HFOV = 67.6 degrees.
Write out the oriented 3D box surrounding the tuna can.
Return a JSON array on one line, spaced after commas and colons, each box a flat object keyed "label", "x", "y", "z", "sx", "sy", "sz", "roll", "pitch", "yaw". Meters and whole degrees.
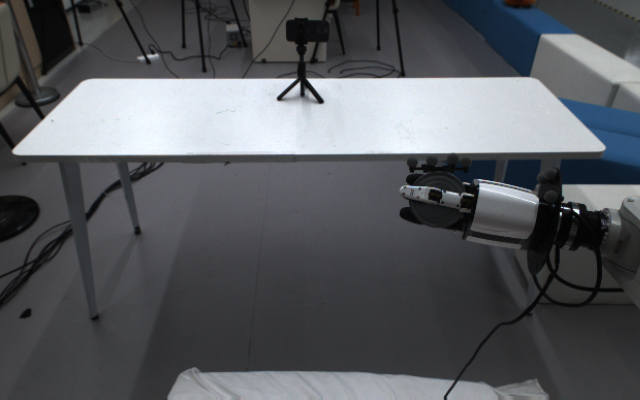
[{"label": "tuna can", "x": 0.180, "y": -0.002, "z": 0.737, "sx": 0.085, "sy": 0.085, "sz": 0.034, "roll": 14, "pitch": -3, "yaw": 16}]
